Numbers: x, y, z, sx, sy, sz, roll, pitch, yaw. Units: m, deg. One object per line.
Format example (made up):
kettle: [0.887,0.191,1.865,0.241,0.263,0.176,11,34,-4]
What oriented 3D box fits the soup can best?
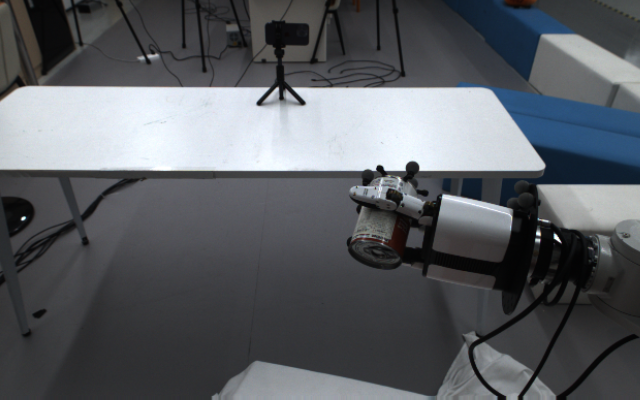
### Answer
soup can: [0.082,0.025,0.614,0.067,0.067,0.101,12,59,14]
